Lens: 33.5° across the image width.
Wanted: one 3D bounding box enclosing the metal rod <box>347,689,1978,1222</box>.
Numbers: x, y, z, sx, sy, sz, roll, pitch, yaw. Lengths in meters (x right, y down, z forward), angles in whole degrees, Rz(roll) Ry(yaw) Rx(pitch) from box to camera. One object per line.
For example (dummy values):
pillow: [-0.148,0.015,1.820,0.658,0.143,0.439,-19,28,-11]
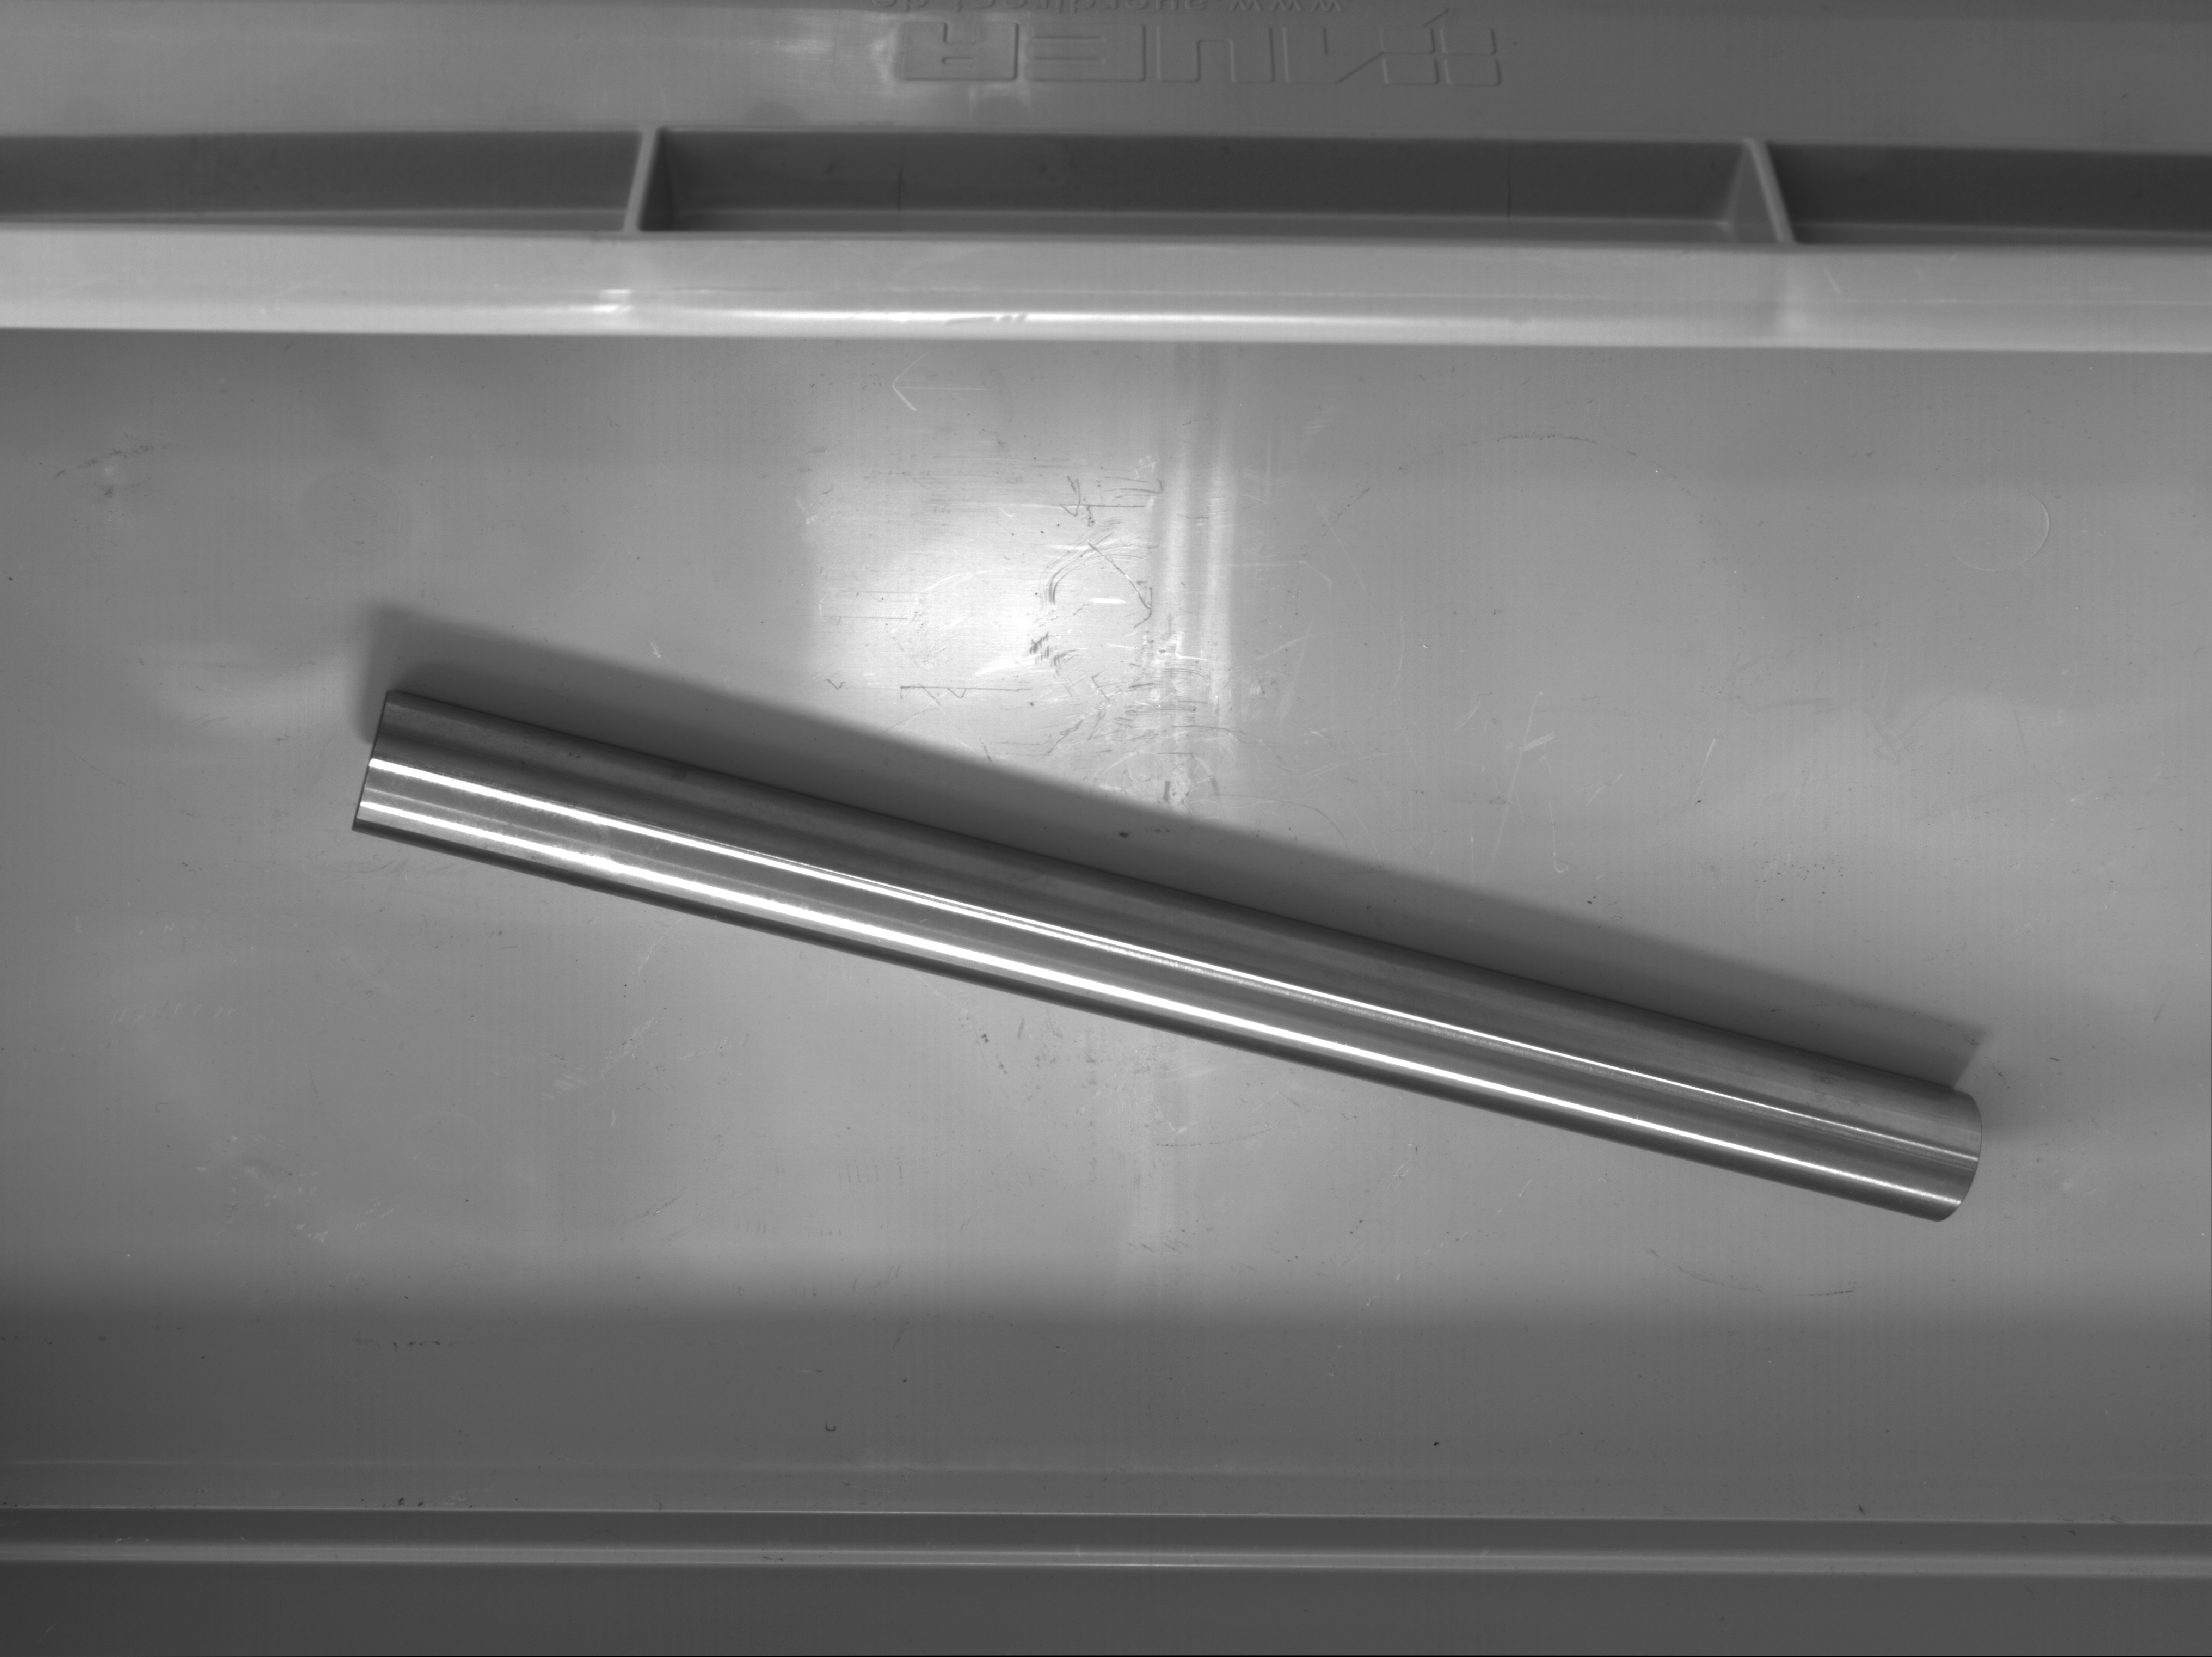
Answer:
metal rod: [0.015,0.025,0.659,0.300,0.025,0.025,14,128,-12]
